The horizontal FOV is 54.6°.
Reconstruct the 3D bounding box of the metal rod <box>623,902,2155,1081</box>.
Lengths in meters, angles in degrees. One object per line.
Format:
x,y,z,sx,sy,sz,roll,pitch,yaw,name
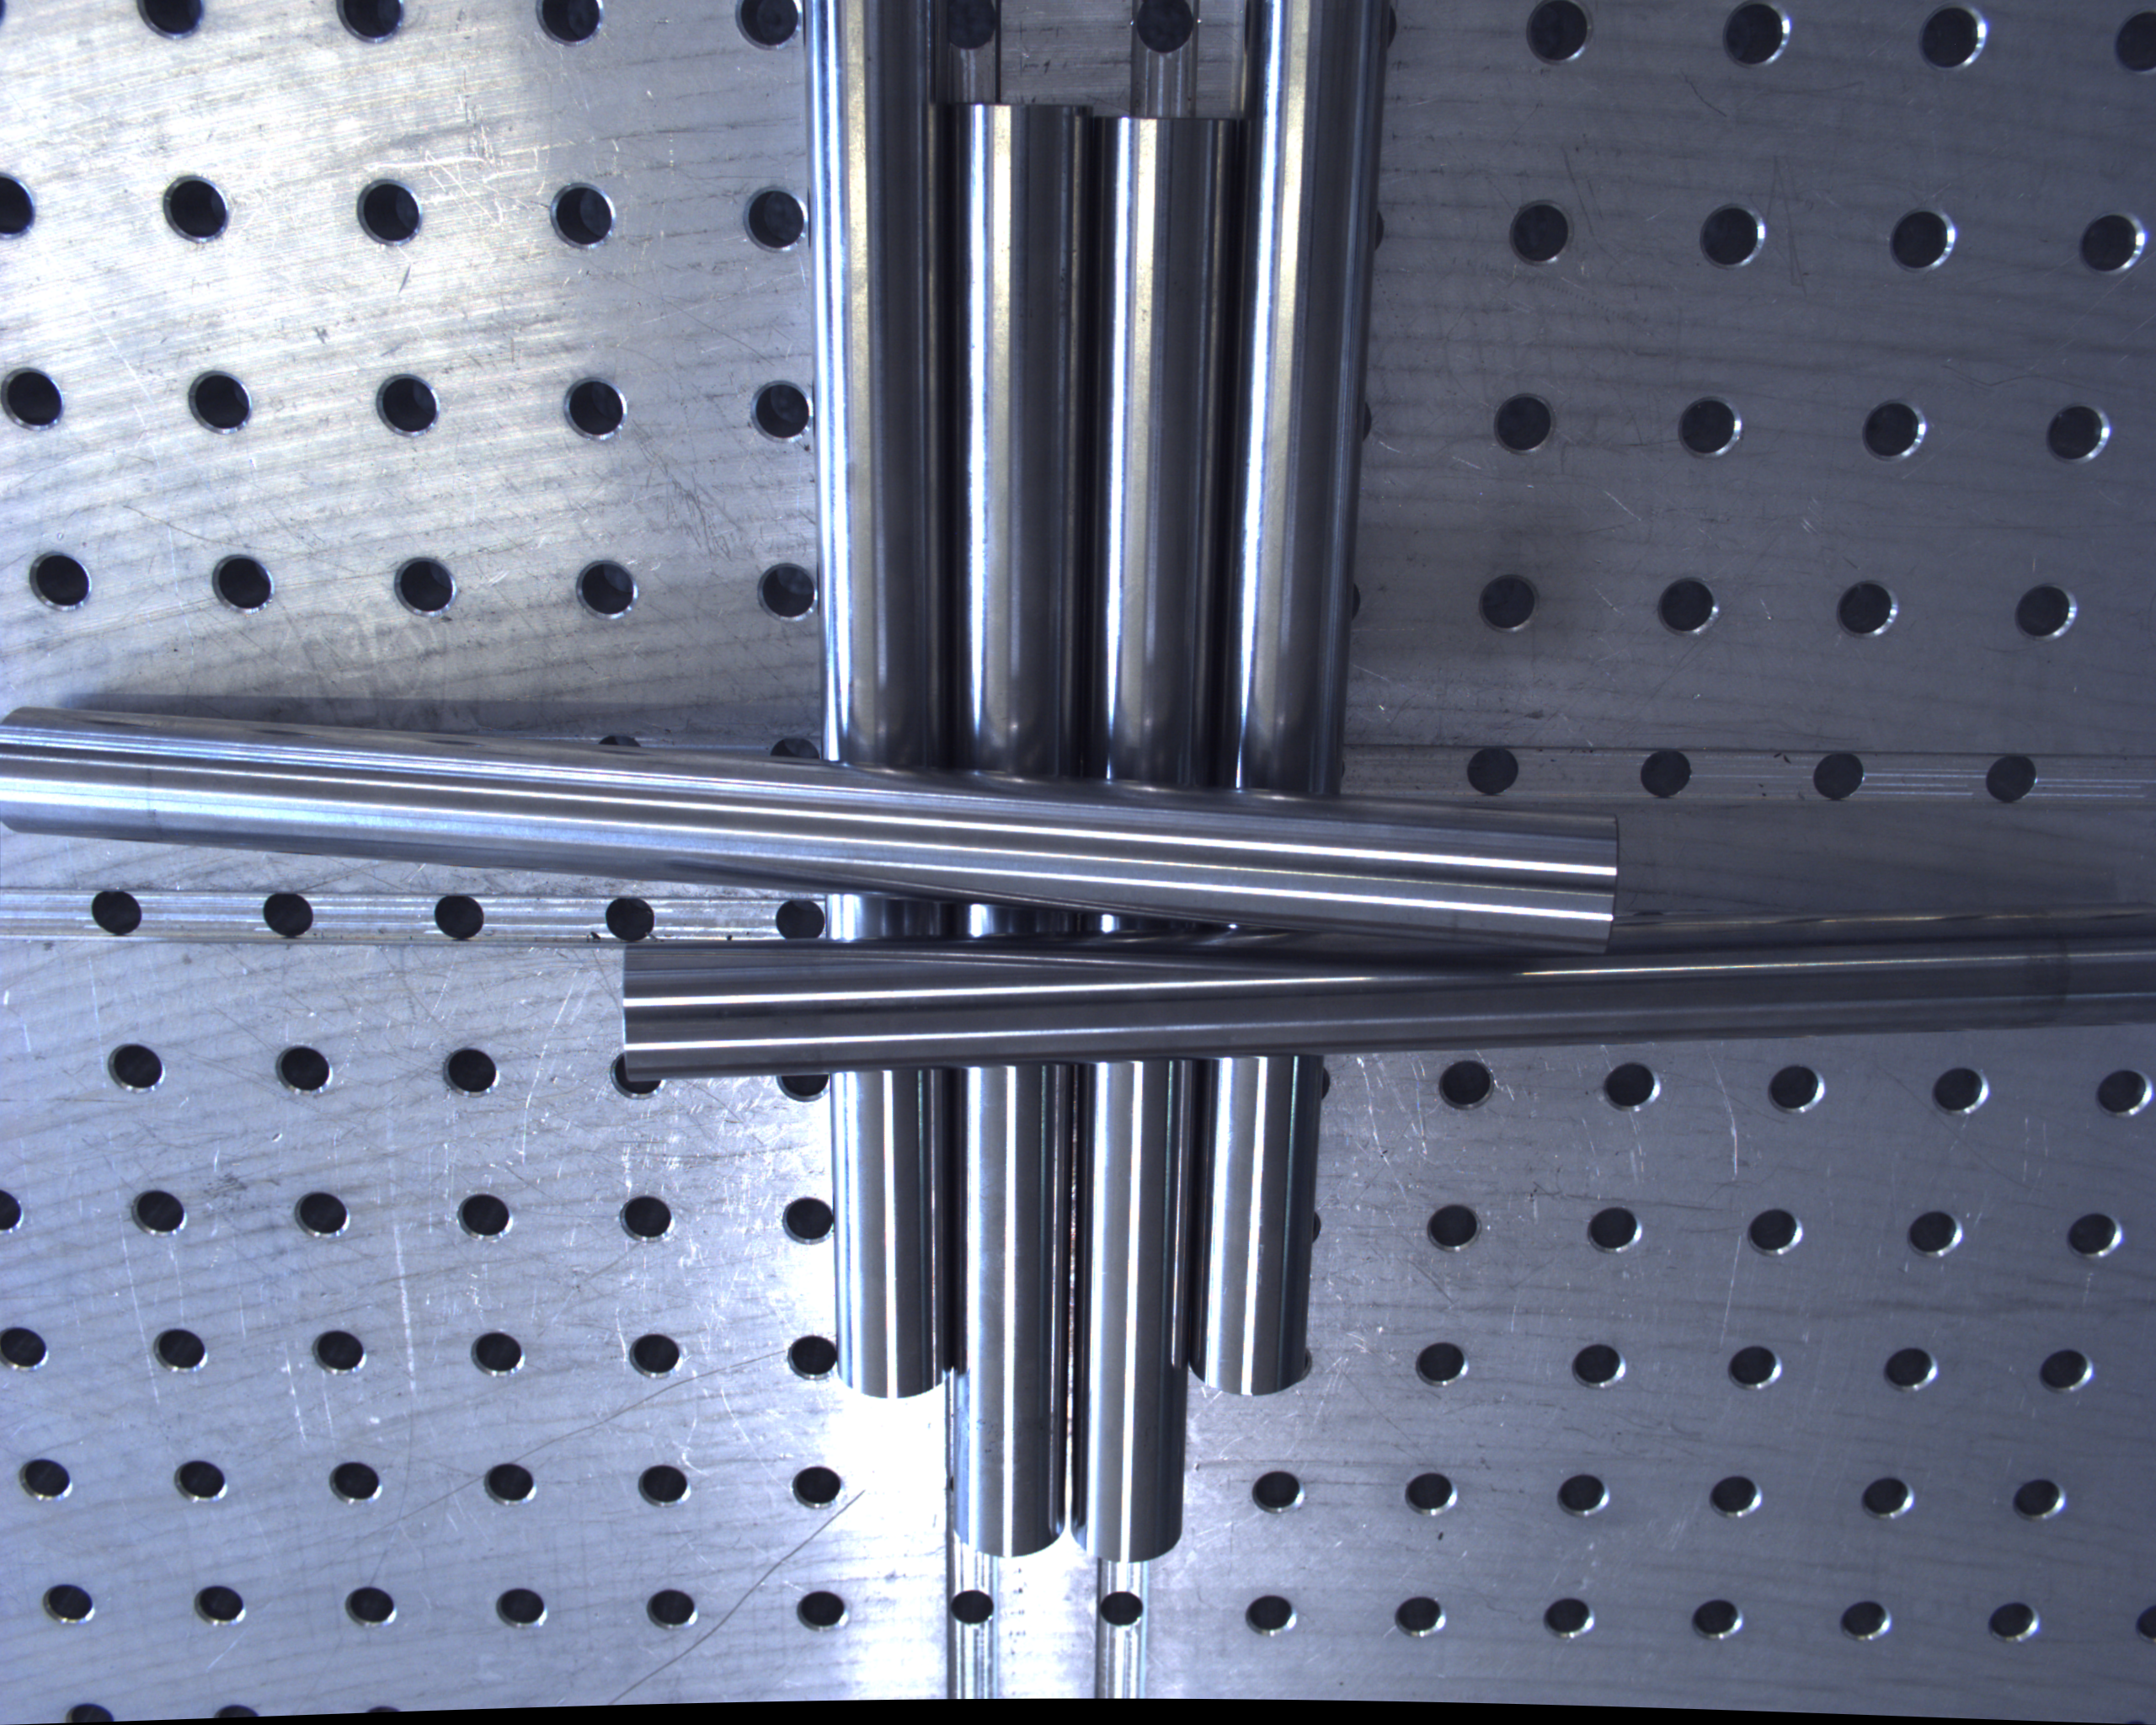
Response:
0.068,0.024,0.400,0.302,0.025,0.025,-1,110,-9,metal rod

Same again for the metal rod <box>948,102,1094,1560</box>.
-0.013,0.008,0.415,0.025,0.025,0.298,1,110,-1,metal rod

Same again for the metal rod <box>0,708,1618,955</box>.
-0.056,-0.007,0.386,0.301,0.025,0.025,4,110,8,metal rod

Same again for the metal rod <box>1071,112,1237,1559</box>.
0.013,0.008,0.417,0.025,0.025,0.298,1,110,0,metal rod

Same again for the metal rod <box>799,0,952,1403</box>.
-0.037,-0.030,0.401,0.025,0.025,0.298,1,110,0,metal rod

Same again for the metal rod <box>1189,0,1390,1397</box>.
0.039,-0.031,0.401,0.025,0.025,0.298,1,110,0,metal rod
